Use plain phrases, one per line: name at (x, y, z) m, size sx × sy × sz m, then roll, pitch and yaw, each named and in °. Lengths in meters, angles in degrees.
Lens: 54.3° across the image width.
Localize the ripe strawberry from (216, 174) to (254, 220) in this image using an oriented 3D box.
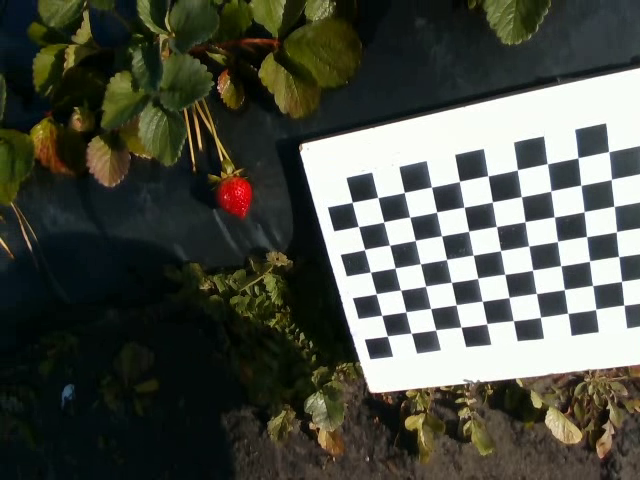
ripe strawberry at (-0.076, -0.036, 0.559) m, size 0.040 × 0.044 × 0.036 m, roll -29°, pitch 2°, yaw 22°
